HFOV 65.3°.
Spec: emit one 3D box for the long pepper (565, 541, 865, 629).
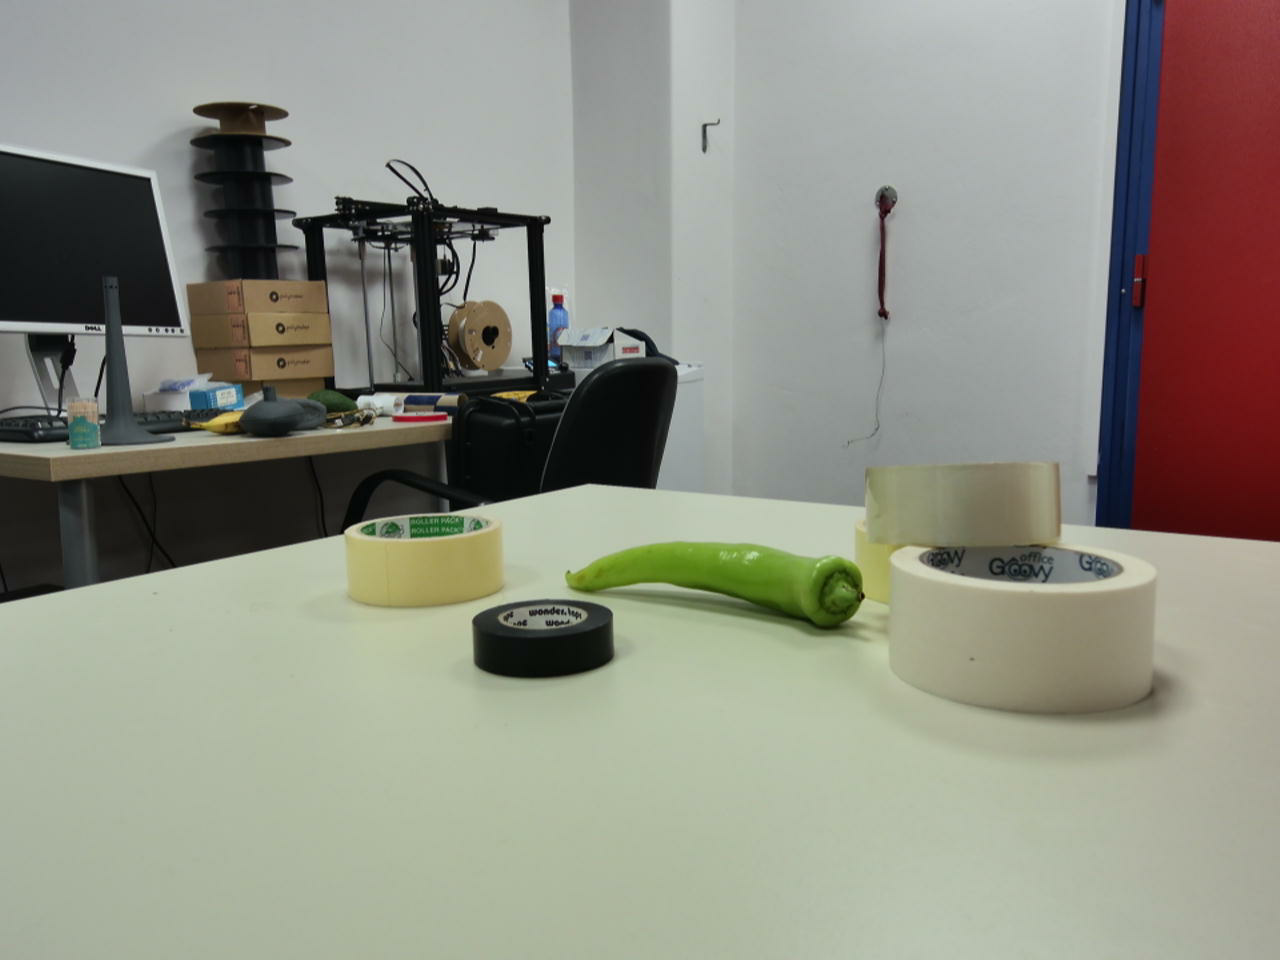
[{"bbox_3d":[0.040,0.052,0.555,0.197,0.038,0.046,5,7,38],"label":"long pepper"}]
